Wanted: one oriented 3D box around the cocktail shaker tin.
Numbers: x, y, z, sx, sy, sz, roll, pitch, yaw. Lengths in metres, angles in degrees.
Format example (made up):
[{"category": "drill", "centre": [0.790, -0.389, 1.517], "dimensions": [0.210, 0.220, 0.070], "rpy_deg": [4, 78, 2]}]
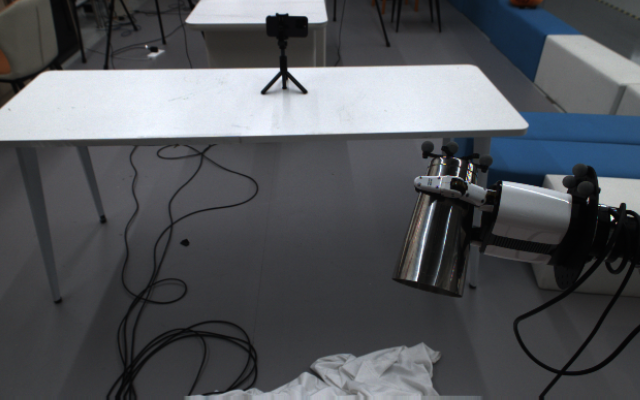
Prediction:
[{"category": "cocktail shaker tin", "centre": [0.163, 0.030, 0.640], "dimensions": [0.093, 0.093, 0.170], "rpy_deg": [12, 76, 15]}]
